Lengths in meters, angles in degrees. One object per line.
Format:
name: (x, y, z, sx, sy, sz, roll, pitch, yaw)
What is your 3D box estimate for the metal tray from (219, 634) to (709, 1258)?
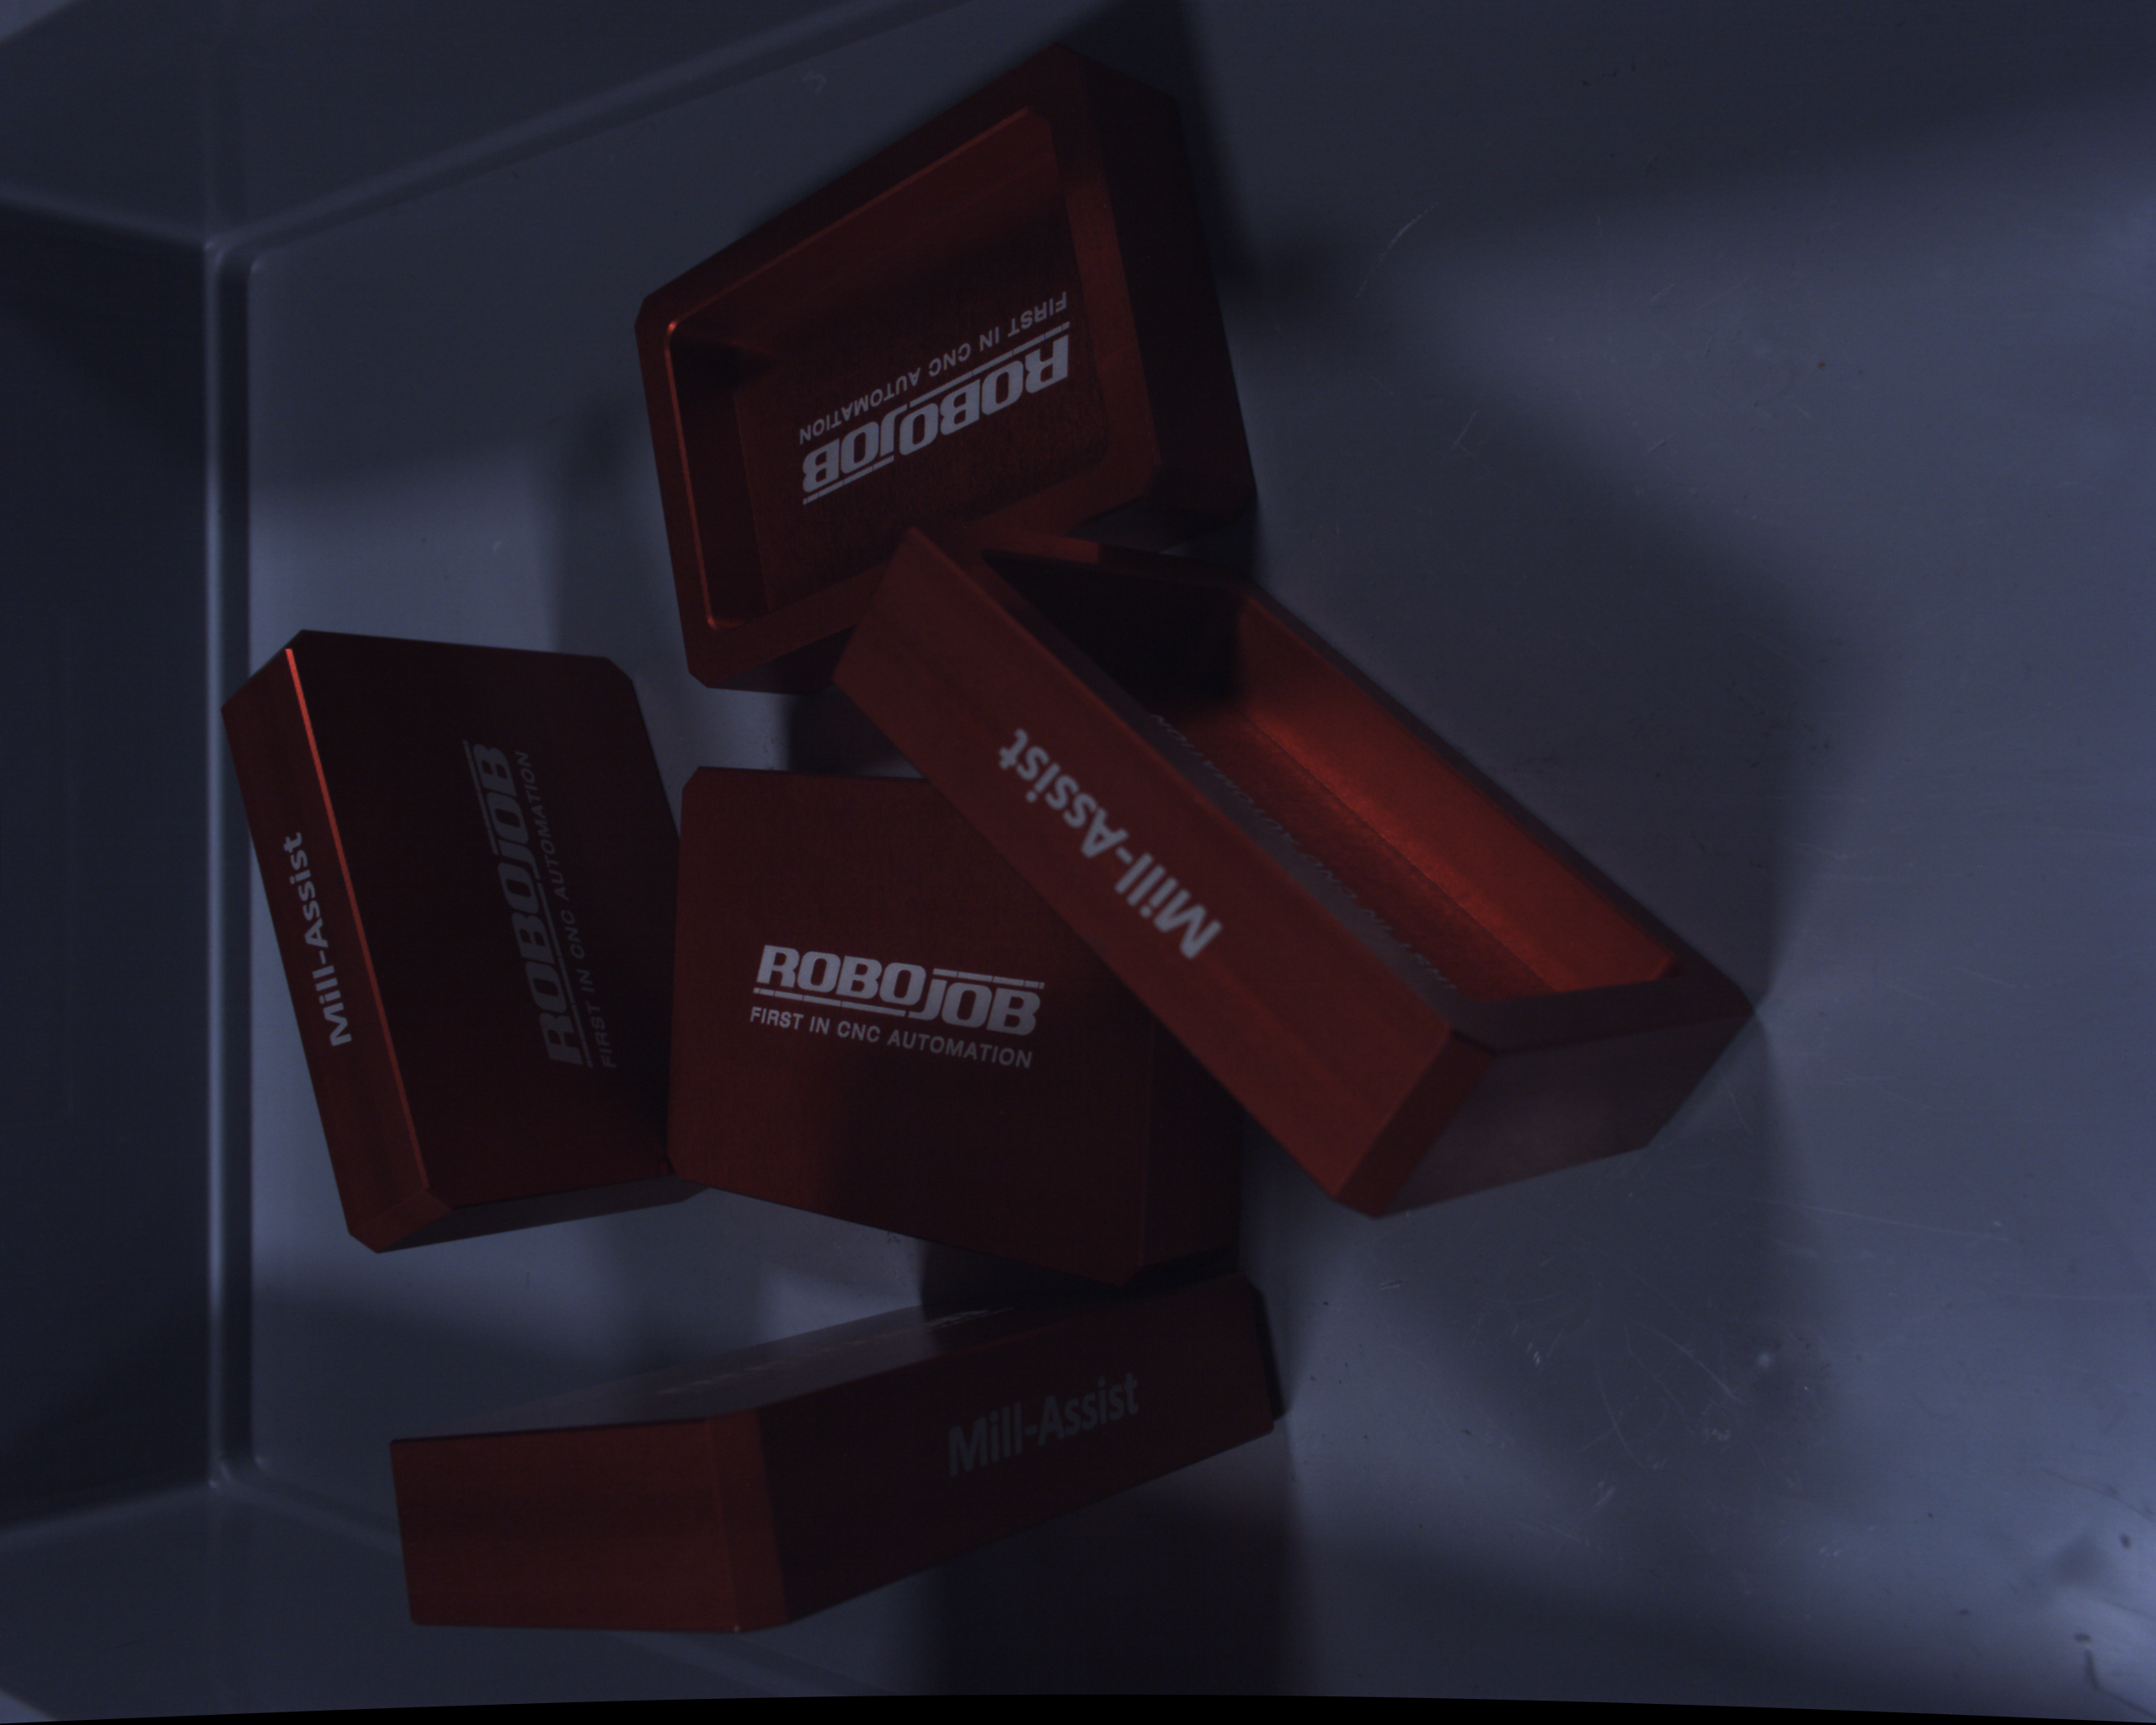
metal tray: (-0.129, 0.016, 0.466, 0.030, 0.091, 0.129, -30, 72, 35)

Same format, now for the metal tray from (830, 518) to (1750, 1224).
metal tray: (0.033, -0.004, 0.333, 0.130, 0.091, 0.030, 45, 118, 30)

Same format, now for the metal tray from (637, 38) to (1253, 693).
metal tray: (-0.032, -0.095, 0.426, 0.130, 0.030, 0.090, -17, 79, 38)

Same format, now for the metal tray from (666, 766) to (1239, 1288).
metal tray: (-0.028, 0.028, 0.421, 0.130, 0.030, 0.089, 5, 93, 39)

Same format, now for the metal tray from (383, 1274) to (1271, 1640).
metal tray: (-0.039, 0.101, 0.365, 0.090, 0.131, 0.030, -16, 81, 38)
